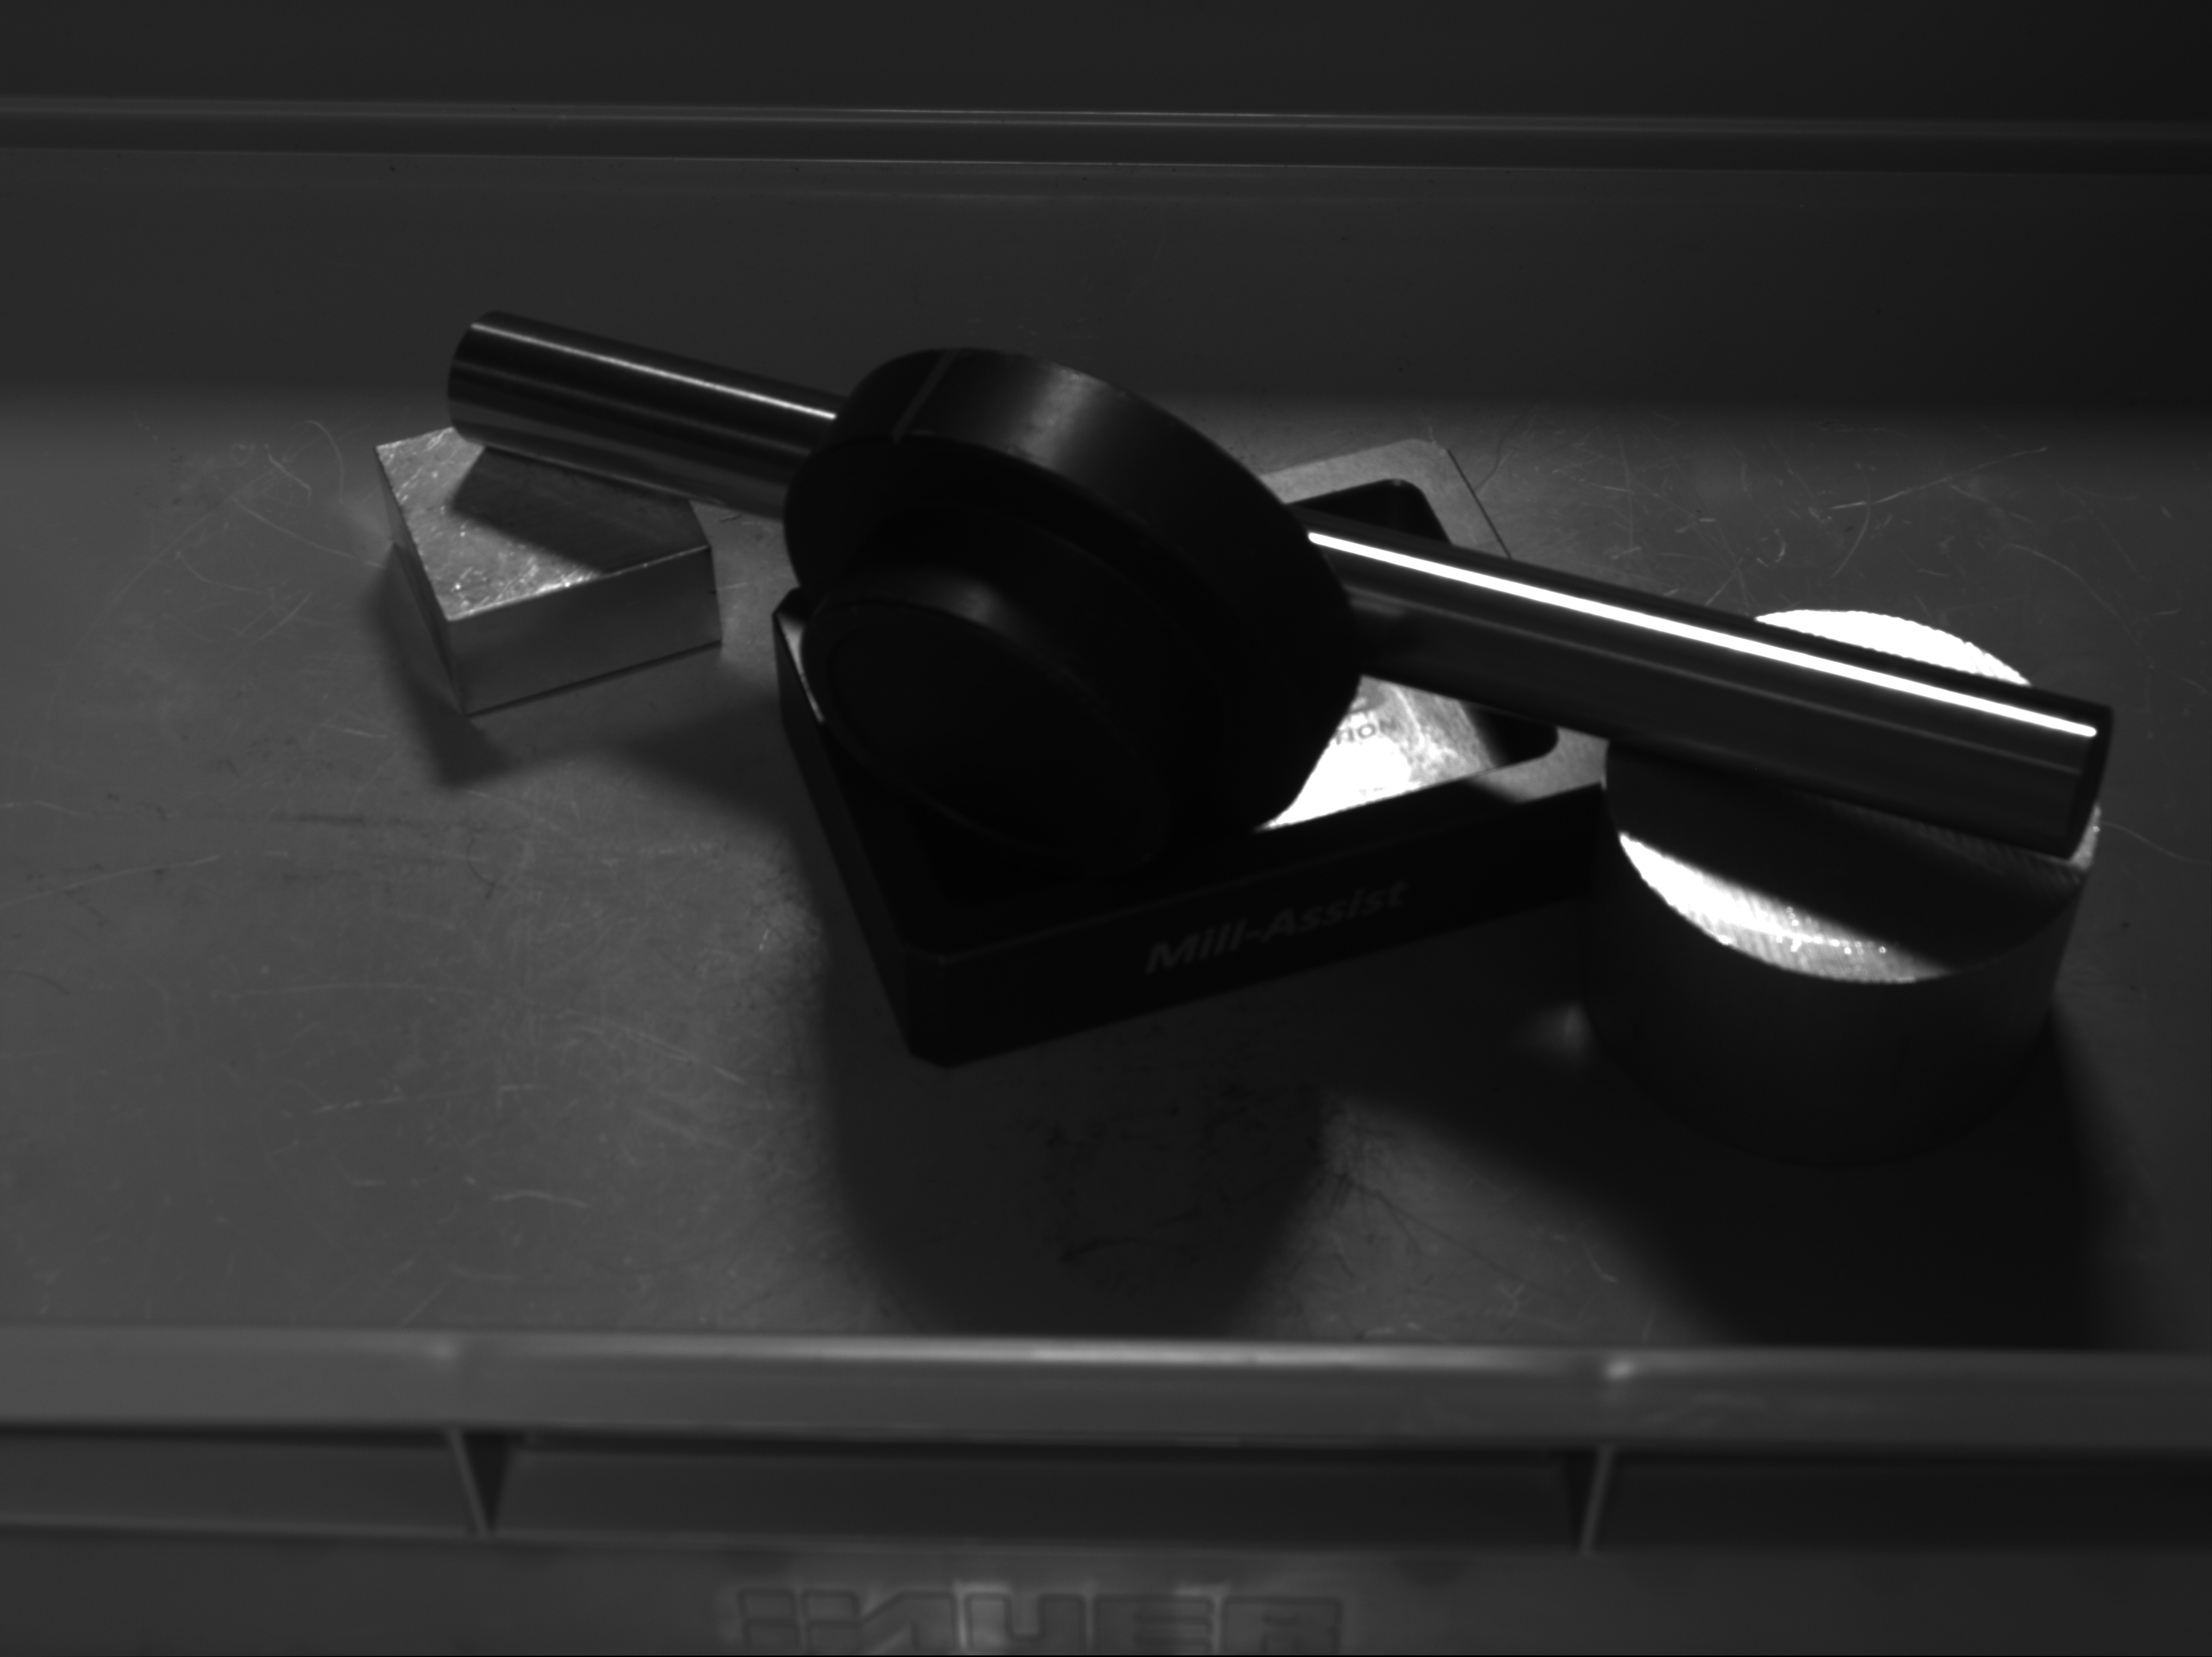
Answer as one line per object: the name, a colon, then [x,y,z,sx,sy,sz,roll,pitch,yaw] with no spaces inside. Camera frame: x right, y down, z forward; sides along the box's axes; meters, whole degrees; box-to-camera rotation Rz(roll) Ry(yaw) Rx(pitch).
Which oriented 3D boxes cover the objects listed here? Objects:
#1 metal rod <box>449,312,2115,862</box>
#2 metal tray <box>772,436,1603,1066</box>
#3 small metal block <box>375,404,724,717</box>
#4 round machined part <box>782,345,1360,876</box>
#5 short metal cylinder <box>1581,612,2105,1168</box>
metal rod: [0.020,-0.045,0.625,0.299,0.025,0.025,16,51,21]
metal tray: [0.015,-0.016,0.650,0.130,0.030,0.090,-15,51,-12]
small metal block: [-0.104,-0.053,0.686,0.050,0.025,0.050,-17,52,-14]
round machined part: [-0.011,-0.030,0.601,0.098,0.098,0.042,22,61,18]
short metal cylinder: [0.122,0.010,0.616,0.080,0.050,0.080,0,50,0]
